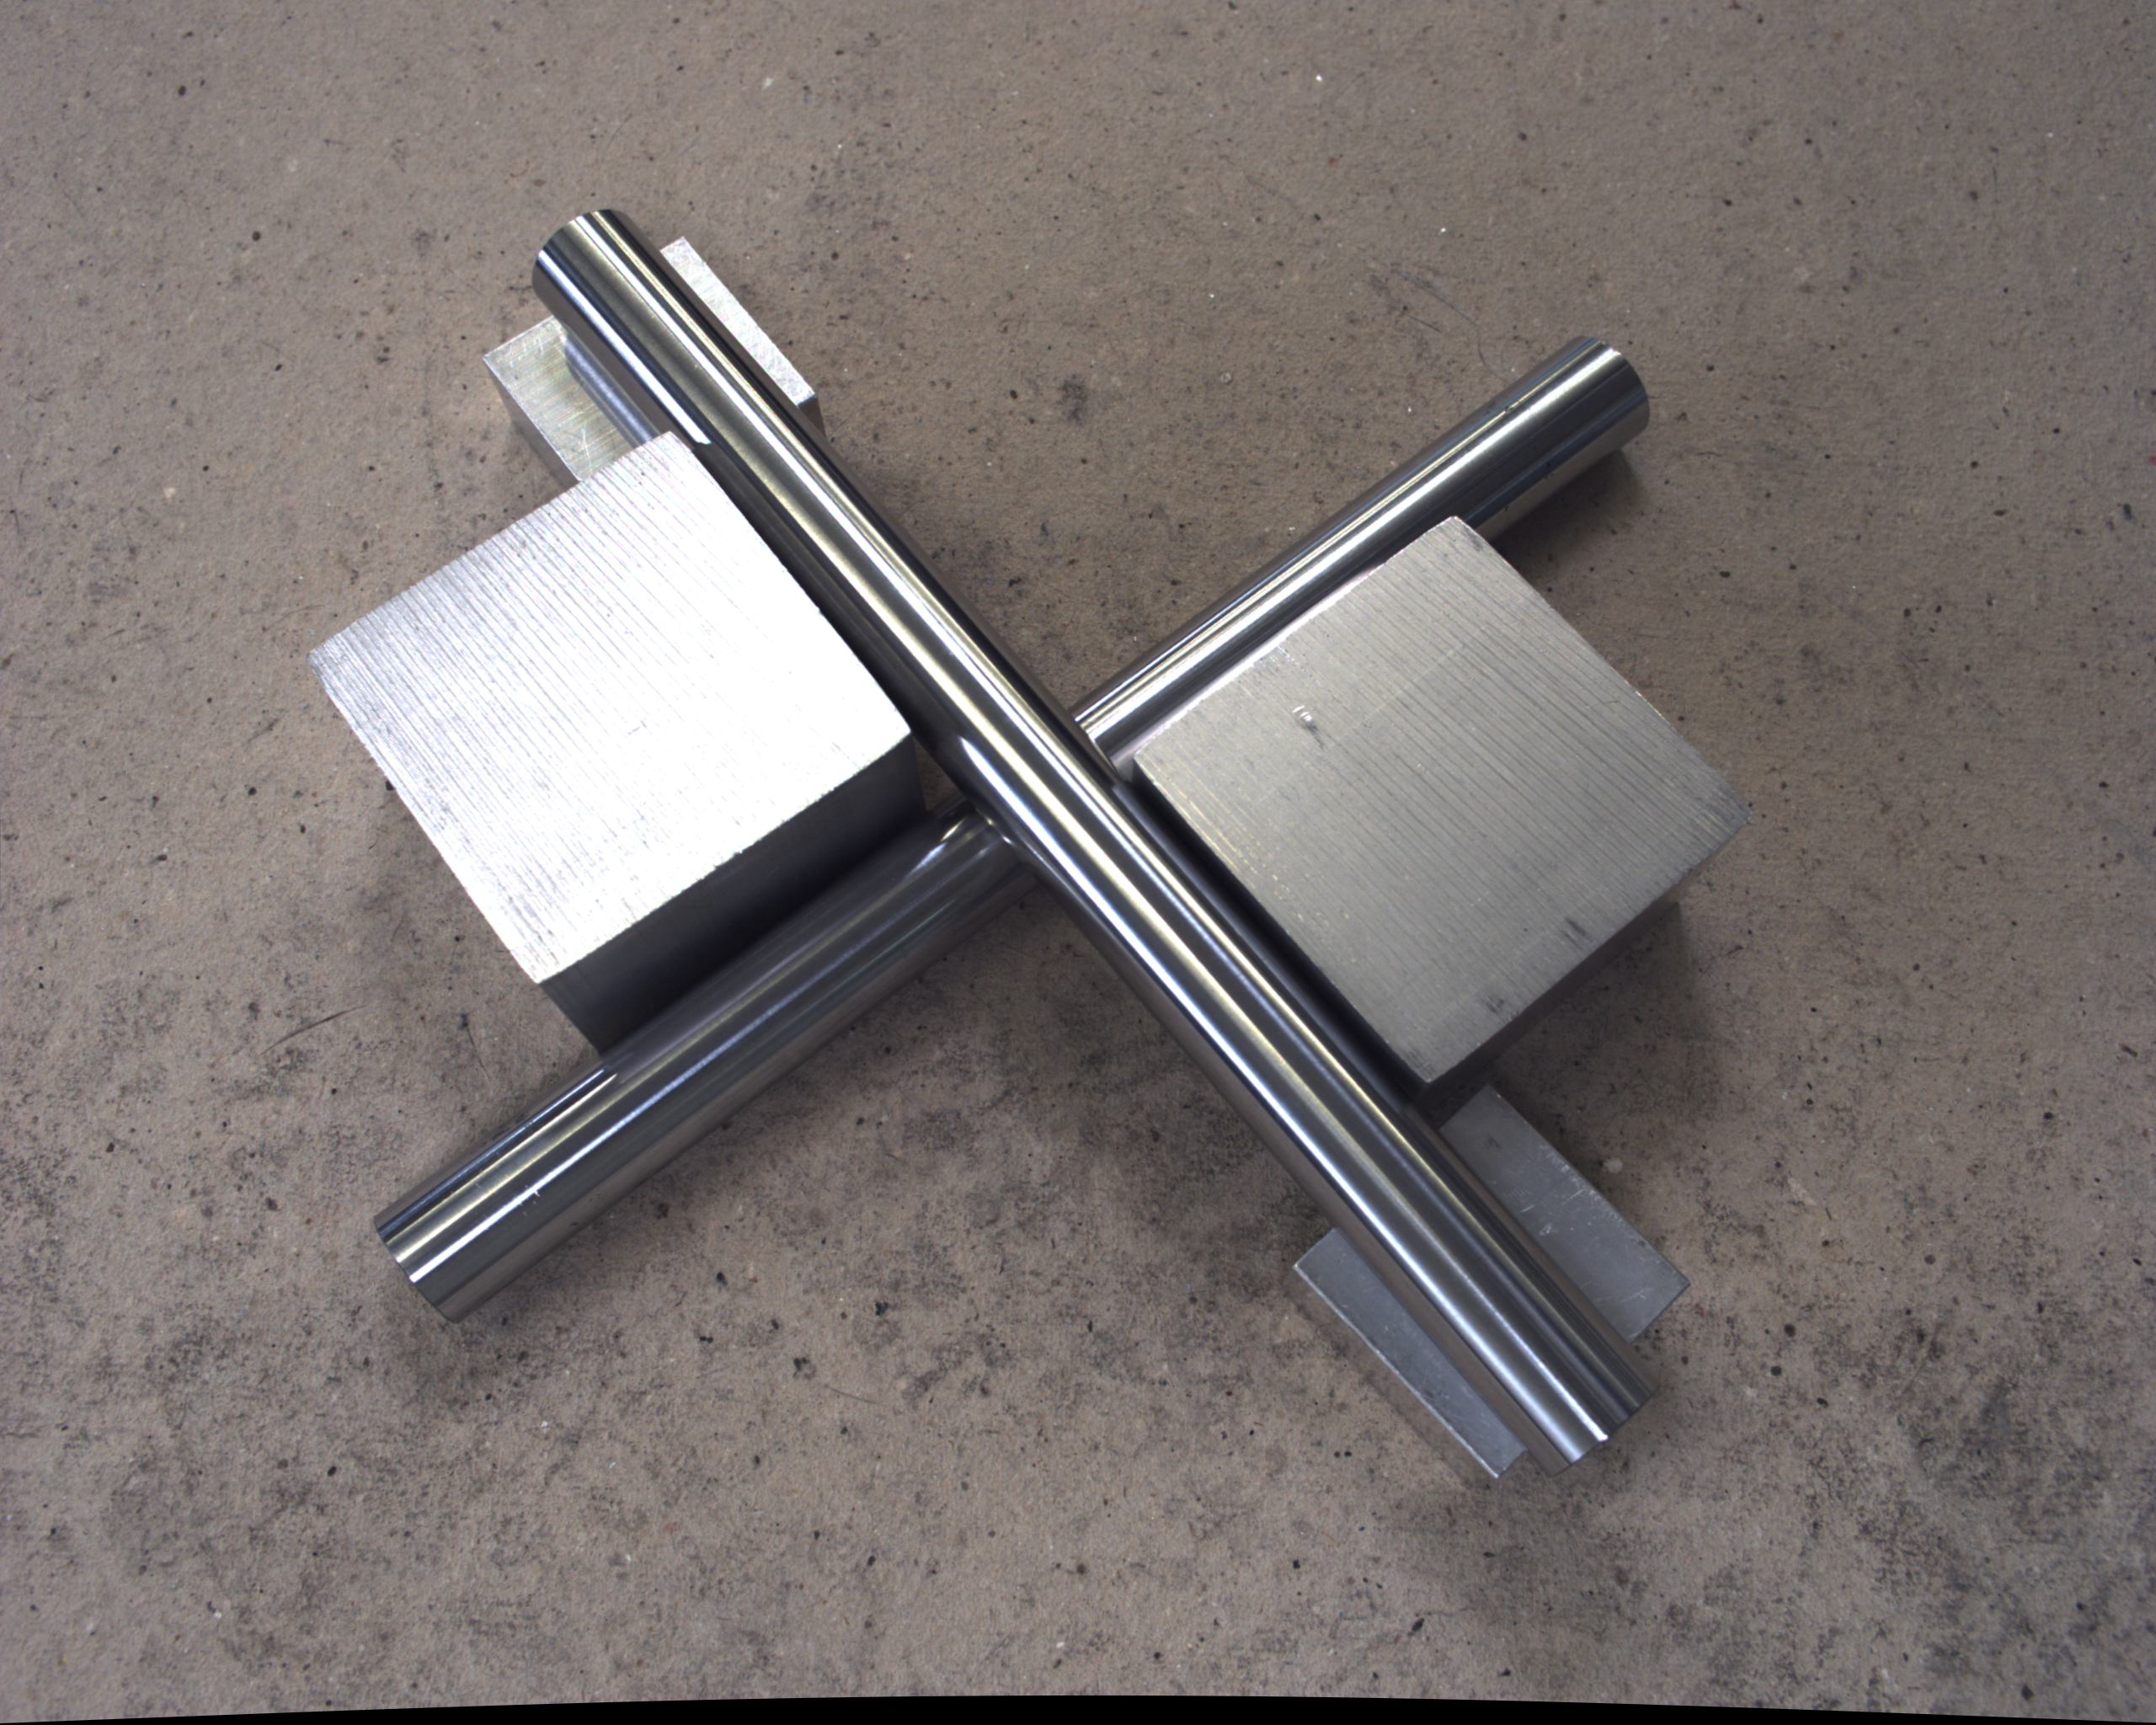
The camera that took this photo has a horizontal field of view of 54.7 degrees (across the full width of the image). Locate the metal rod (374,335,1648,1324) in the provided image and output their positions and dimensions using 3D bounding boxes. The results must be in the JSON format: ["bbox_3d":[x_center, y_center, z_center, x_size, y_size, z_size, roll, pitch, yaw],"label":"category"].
[{"bbox_3d":[-0.004,-0.014,0.415,0.301,0.025,0.025,-37,74,-13],"label":"metal rod"}]

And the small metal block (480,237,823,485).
[{"bbox_3d":[-0.089,-0.097,0.445,0.050,0.025,0.050,-36,74,-12],"label":"small metal block"}]

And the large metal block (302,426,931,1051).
[{"bbox_3d":[-0.085,-0.022,0.402,0.080,0.050,0.080,-35,74,-12],"label":"large metal block"}]

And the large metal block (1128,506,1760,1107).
[{"bbox_3d":[0.066,-0.006,0.399,0.080,0.050,0.080,-37,74,-13],"label":"large metal block"}]

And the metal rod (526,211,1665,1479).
[{"bbox_3d":[-0.007,-0.014,0.387,0.025,0.025,0.300,-38,75,-13],"label":"metal rod"}]

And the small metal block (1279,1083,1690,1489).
[{"bbox_3d":[0.073,0.078,0.382,0.050,0.025,0.050,-41,75,-14],"label":"small metal block"}]
